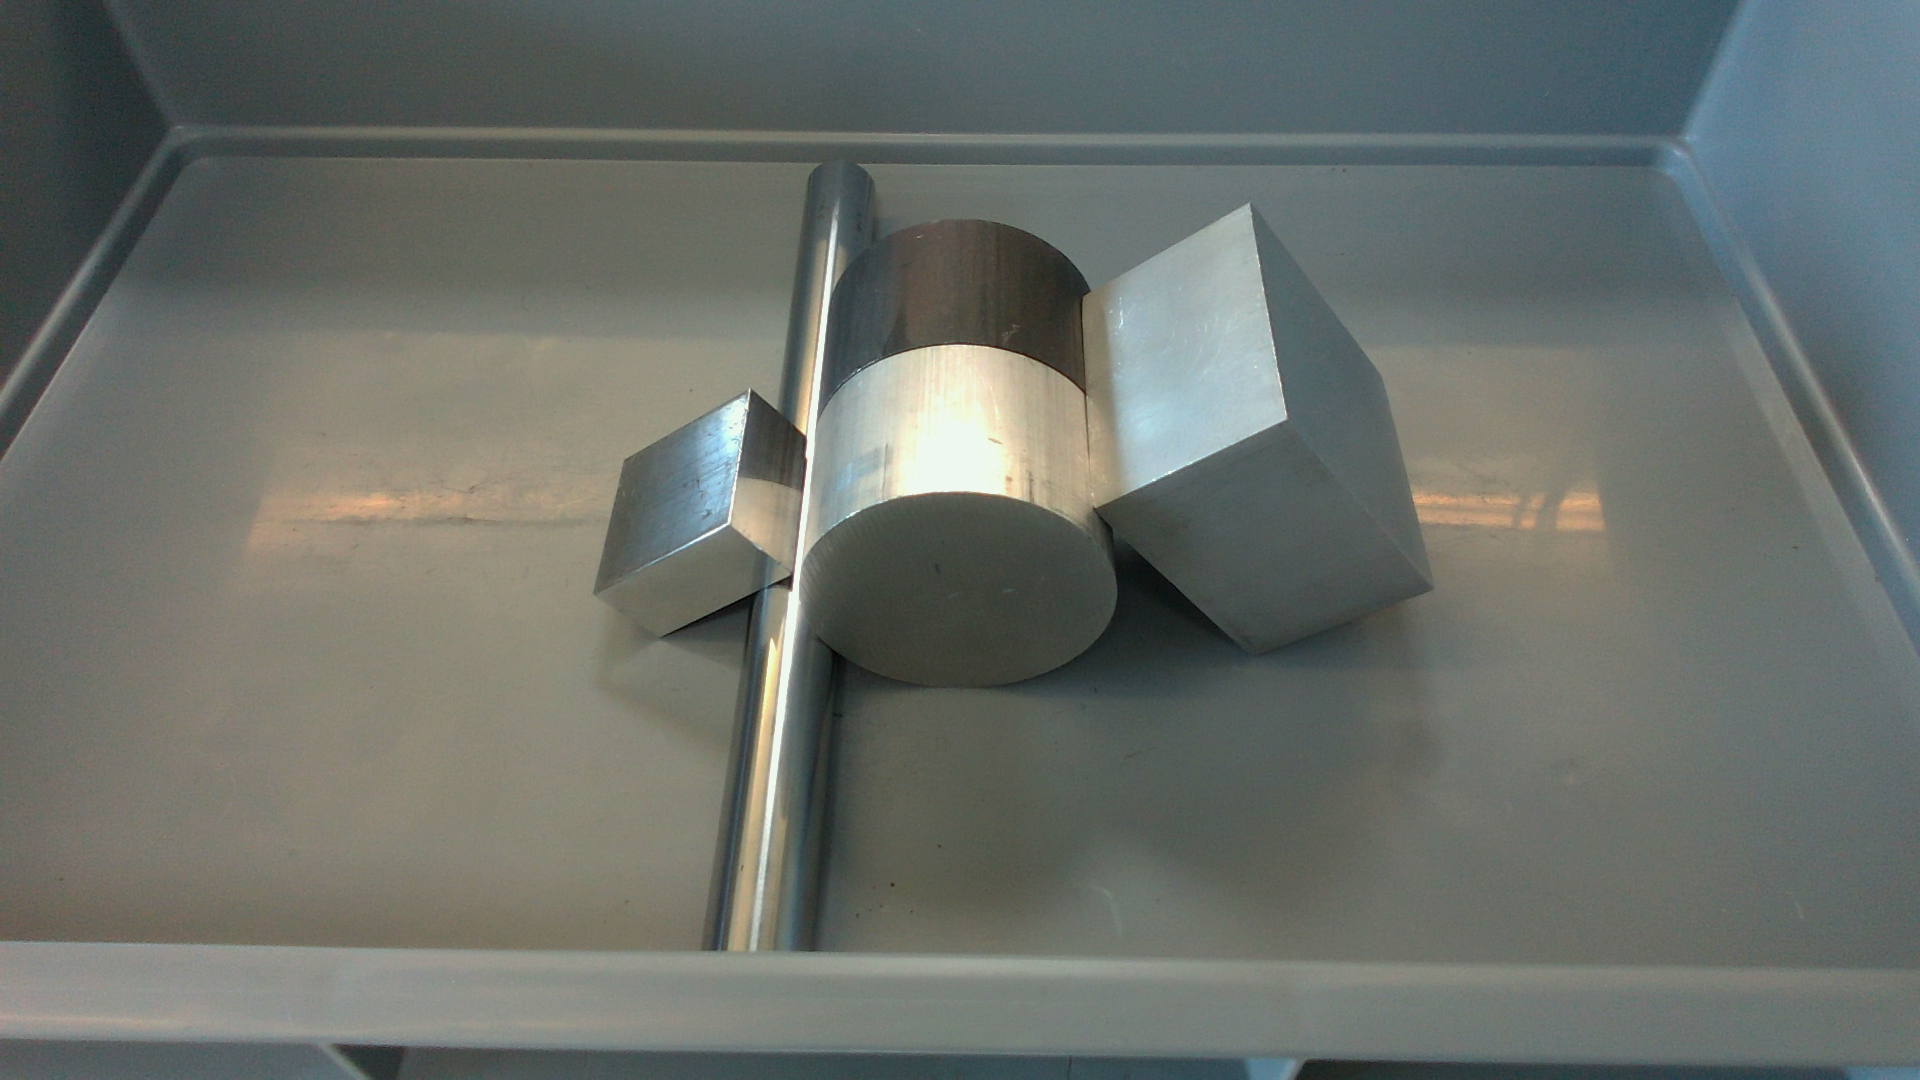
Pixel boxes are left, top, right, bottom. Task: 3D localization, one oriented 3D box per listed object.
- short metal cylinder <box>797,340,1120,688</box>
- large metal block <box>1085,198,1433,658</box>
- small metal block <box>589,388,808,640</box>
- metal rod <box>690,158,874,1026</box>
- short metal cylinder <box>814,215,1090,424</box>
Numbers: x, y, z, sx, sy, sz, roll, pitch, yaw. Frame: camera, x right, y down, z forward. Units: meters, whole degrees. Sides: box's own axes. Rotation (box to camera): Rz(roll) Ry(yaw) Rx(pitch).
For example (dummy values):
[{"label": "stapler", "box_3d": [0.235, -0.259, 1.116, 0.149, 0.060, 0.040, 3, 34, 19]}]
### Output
[{"label": "short metal cylinder", "box_3d": [0.000, -0.005, 0.358, 0.080, 0.080, 0.050, 0, 50, 0]}, {"label": "large metal block", "box_3d": [0.078, -0.028, 0.368, 0.050, 0.080, 0.080, -26, 43, 29]}, {"label": "small metal block", "box_3d": [-0.071, -0.007, 0.381, 0.050, 0.025, 0.050, -24, 43, 26]}, {"label": "metal rod", "box_3d": [-0.045, -0.012, 0.399, 0.025, 0.025, 0.300, 0, 50, 1]}, {"label": "short metal cylinder", "box_3d": [0.000, -0.044, 0.390, 0.080, 0.080, 0.050, 0, 50, 0]}]
